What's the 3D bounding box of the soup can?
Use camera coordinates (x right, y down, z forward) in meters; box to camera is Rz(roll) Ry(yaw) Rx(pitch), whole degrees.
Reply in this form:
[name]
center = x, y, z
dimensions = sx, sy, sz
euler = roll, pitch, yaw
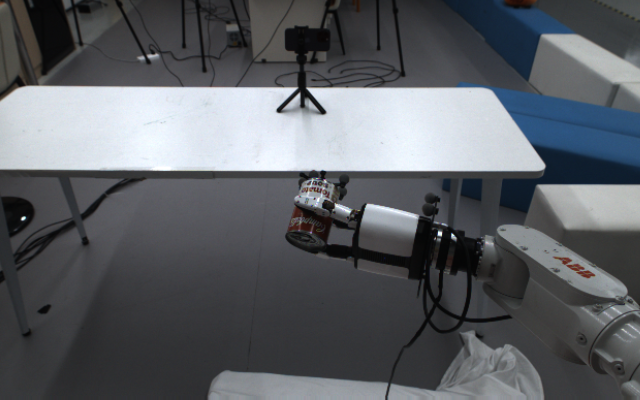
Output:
[soup can]
center = -0.010, 0.023, 0.782
dimensions = 0.067, 0.067, 0.101
euler = 9, 60, 10
